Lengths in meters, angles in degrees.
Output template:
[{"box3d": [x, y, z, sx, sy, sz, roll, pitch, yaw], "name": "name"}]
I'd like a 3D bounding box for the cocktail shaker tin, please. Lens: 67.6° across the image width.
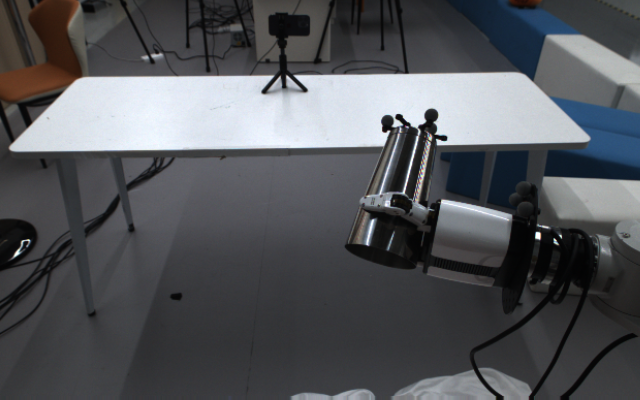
[{"box3d": [0.099, -0.006, 0.627, 0.093, 0.093, 0.170, 14, 73, 16], "name": "cocktail shaker tin"}]
